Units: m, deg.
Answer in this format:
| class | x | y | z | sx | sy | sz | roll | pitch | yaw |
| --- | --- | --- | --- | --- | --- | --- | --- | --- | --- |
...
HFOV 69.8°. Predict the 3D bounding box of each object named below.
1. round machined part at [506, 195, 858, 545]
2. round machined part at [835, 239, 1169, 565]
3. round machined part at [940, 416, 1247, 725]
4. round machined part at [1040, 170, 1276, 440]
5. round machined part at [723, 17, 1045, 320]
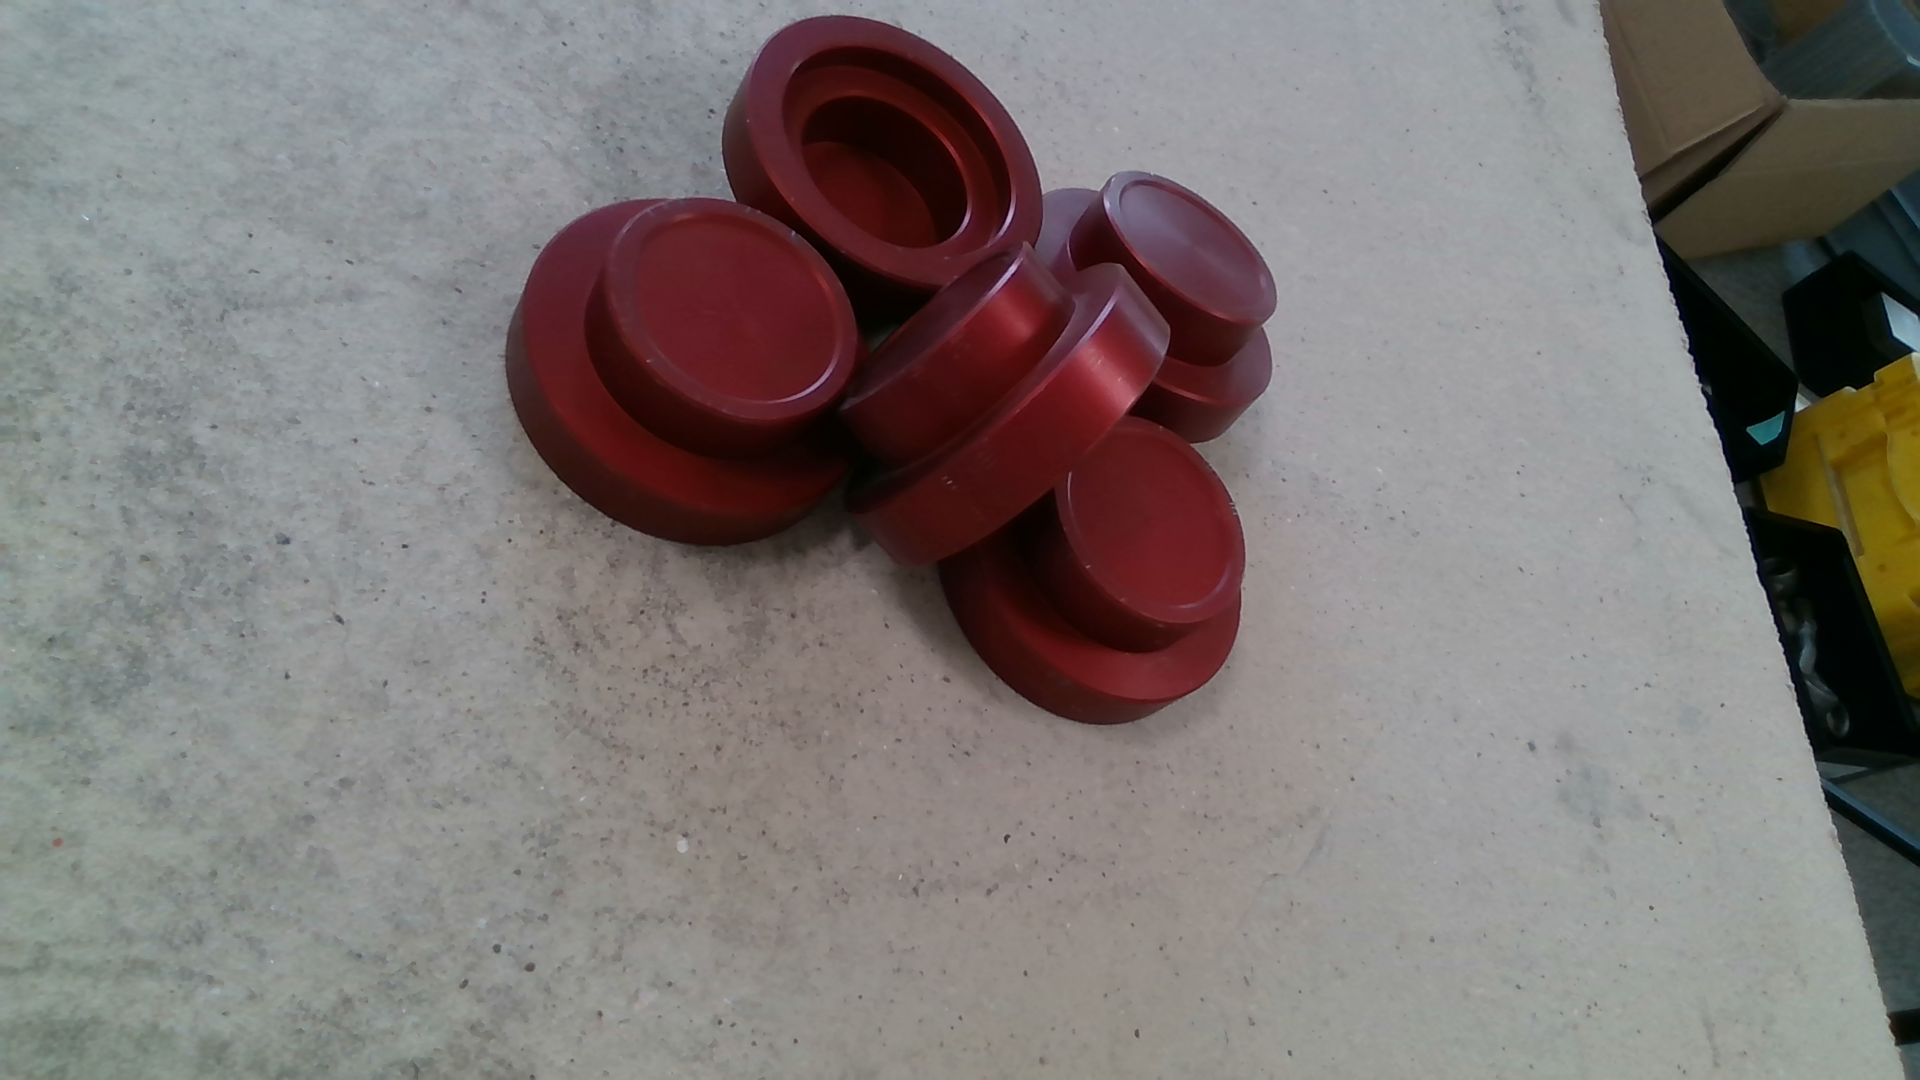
| class | x | y | z | sx | sy | sz | roll | pitch | yaw |
| --- | --- | --- | --- | --- | --- | --- | --- | --- | --- |
| round machined part | -0.067 | -0.052 | 0.369 | 0.098 | 0.042 | 0.098 | 15 | 59 | -26 |
| round machined part | 0.004 | -0.042 | 0.368 | 0.042 | 0.098 | 0.098 | 48 | 49 | -18 |
| round machined part | 0.046 | 0.002 | 0.409 | 0.098 | 0.042 | 0.098 | 15 | 59 | -26 |
| round machined part | 0.064 | -0.083 | 0.453 | 0.098 | 0.042 | 0.098 | 21 | 42 | -21 |
| round machined part | -0.026 | -0.108 | 0.424 | 0.098 | 0.042 | 0.098 | 14 | 59 | -24 |
